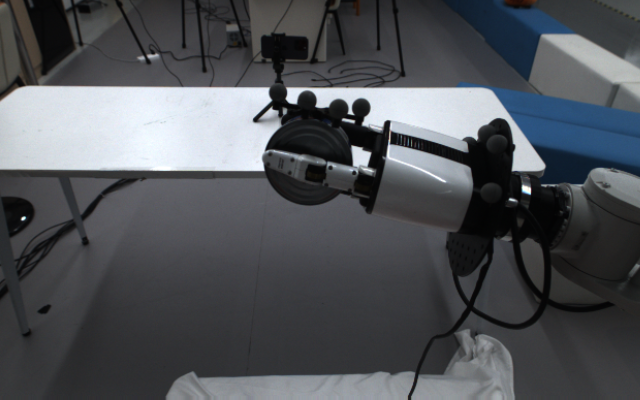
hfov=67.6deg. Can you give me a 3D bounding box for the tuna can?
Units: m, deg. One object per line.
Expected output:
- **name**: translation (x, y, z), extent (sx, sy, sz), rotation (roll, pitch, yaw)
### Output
- **tuna can**: translation (-0.009, -0.042, 0.477), extent (0.085, 0.085, 0.034), rotation (5, 19, 4)
